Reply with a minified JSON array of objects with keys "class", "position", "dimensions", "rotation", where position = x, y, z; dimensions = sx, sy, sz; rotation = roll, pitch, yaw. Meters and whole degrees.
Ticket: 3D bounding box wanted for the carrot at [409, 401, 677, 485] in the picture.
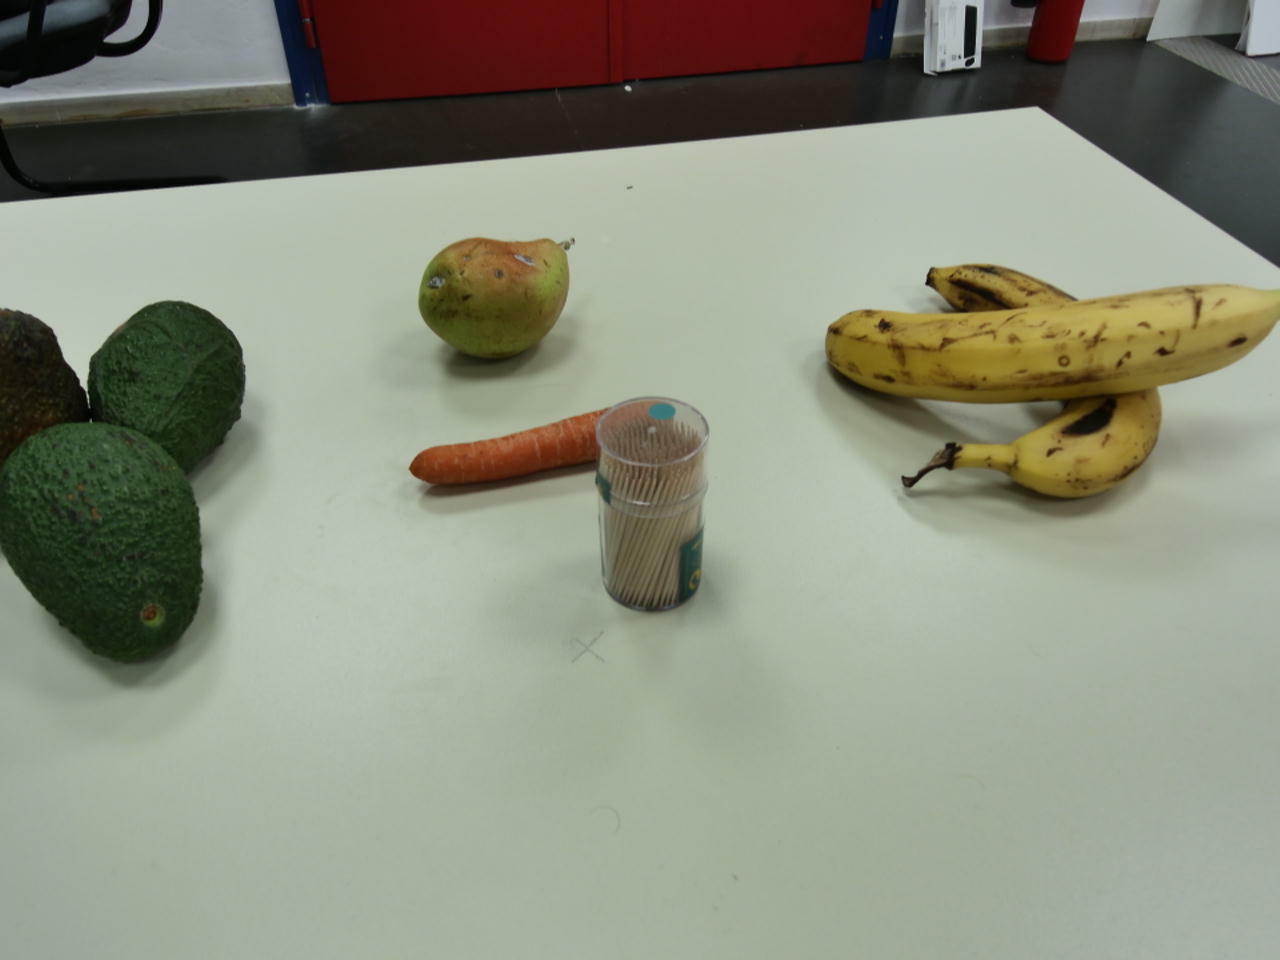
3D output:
[{"class":"carrot","position":[-0.041,-0.016,0.449],"dimensions":[0.122,0.023,0.024],"rotation":[-10,39,-13]}]
